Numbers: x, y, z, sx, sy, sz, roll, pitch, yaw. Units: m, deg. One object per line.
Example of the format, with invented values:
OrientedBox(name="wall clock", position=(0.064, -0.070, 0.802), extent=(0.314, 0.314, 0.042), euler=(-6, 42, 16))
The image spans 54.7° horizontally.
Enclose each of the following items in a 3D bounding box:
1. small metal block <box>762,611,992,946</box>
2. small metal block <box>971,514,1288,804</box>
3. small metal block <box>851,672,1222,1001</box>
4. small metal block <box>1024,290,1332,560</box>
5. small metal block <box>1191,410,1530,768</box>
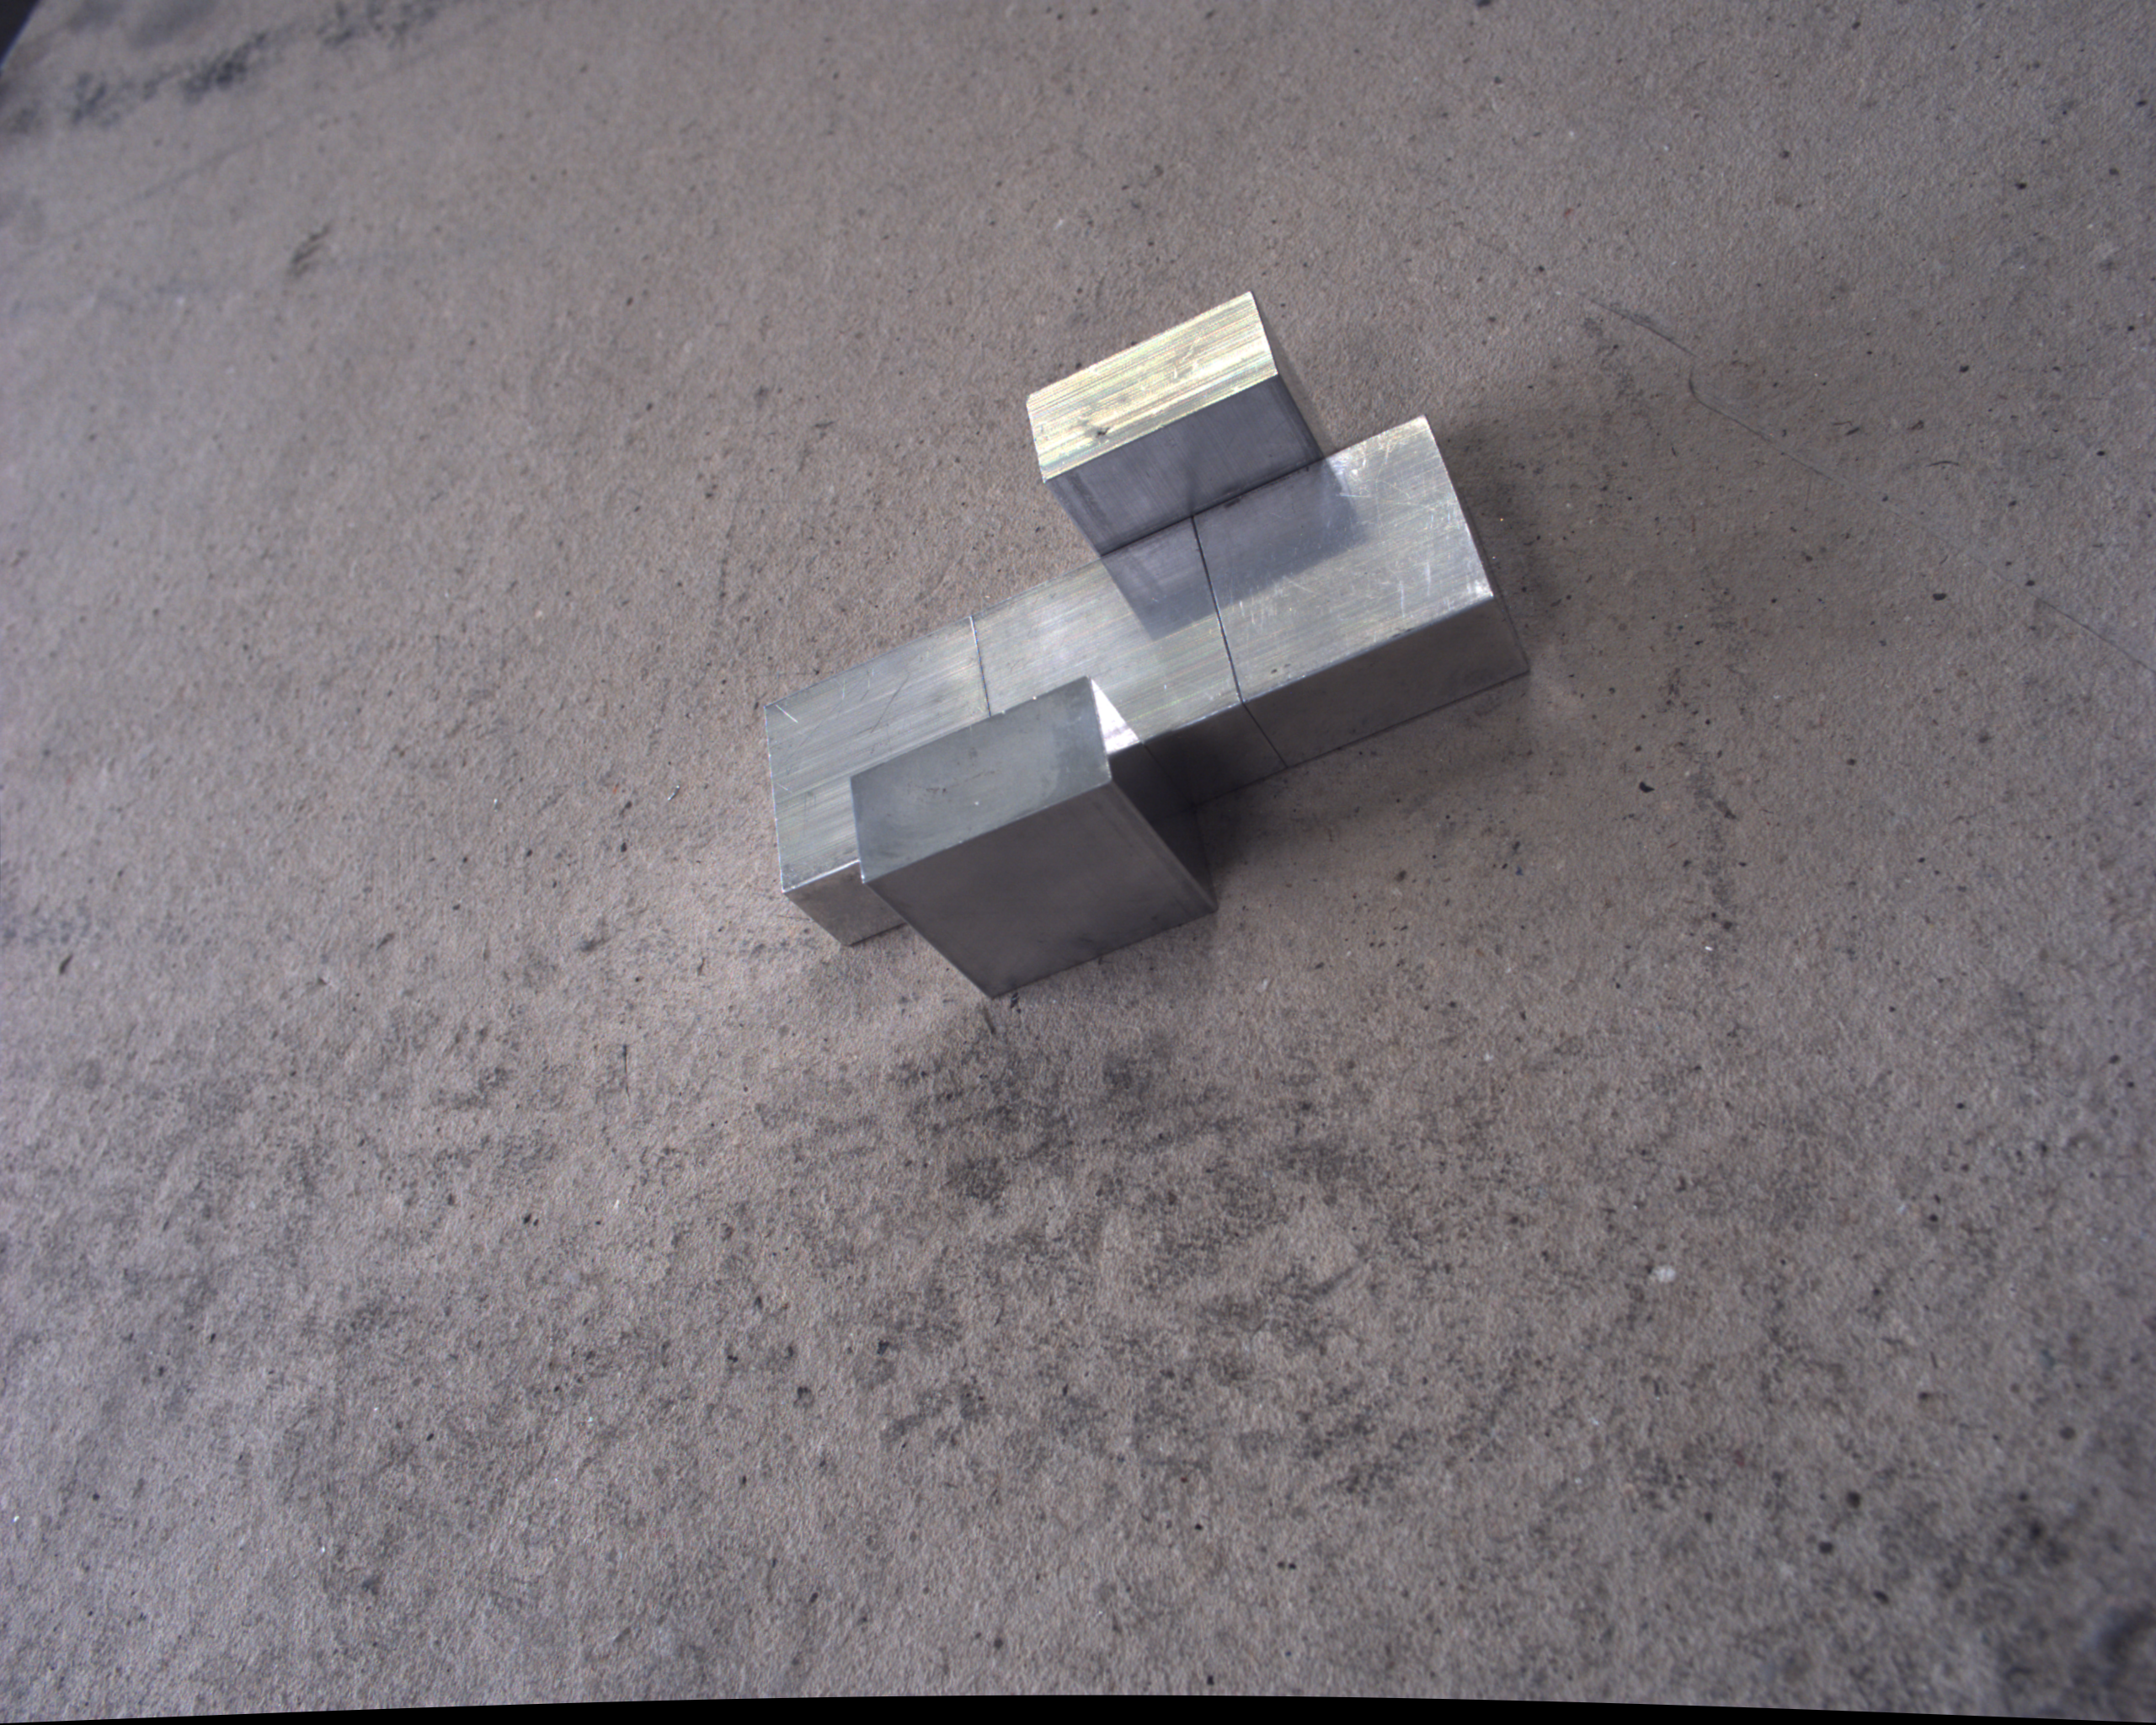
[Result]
OrientedBox(name="small metal block", position=(-0.036, -0.017, 0.434), extent=(0.050, 0.025, 0.050), euler=(-22, 54, 15))
OrientedBox(name="small metal block", position=(0.010, -0.035, 0.422), extent=(0.050, 0.025, 0.050), euler=(-22, 54, 15))
OrientedBox(name="small metal block", position=(-0.007, -0.003, 0.396), extent=(0.050, 0.050, 0.025), euler=(-23, 53, 15))
OrientedBox(name="small metal block", position=(0.024, -0.081, 0.427), extent=(0.050, 0.050, 0.025), euler=(-22, 54, 16))
OrientedBox(name="small metal block", position=(0.055, -0.053, 0.409), extent=(0.050, 0.025, 0.050), euler=(-22, 54, 15))
